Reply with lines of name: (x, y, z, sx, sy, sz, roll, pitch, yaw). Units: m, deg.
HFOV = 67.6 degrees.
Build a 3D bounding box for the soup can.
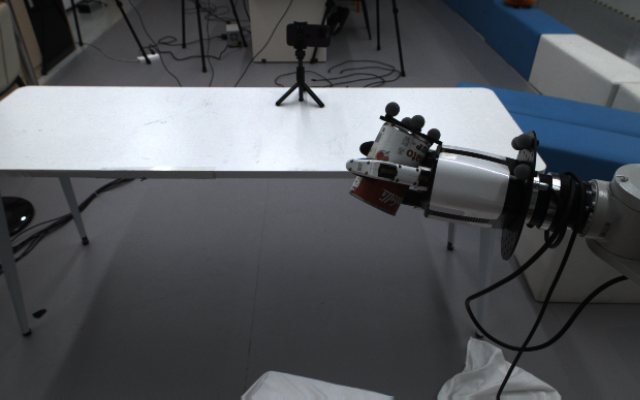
soup can: (0.090, -0.039, 0.617, 0.067, 0.101, 0.067, 26, 5, -3)
